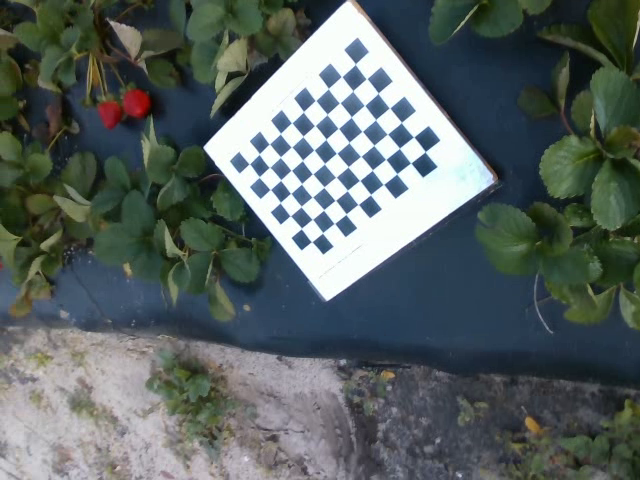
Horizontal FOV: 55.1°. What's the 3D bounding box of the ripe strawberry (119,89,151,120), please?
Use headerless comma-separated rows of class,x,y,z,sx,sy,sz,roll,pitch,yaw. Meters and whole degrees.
ripe strawberry,-0.312,-0.225,1.022,0.051,0.057,0.064,6,34,-38

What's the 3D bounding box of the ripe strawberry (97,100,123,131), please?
ripe strawberry,-0.362,-0.215,1.058,0.049,0.055,0.041,-22,-18,30
